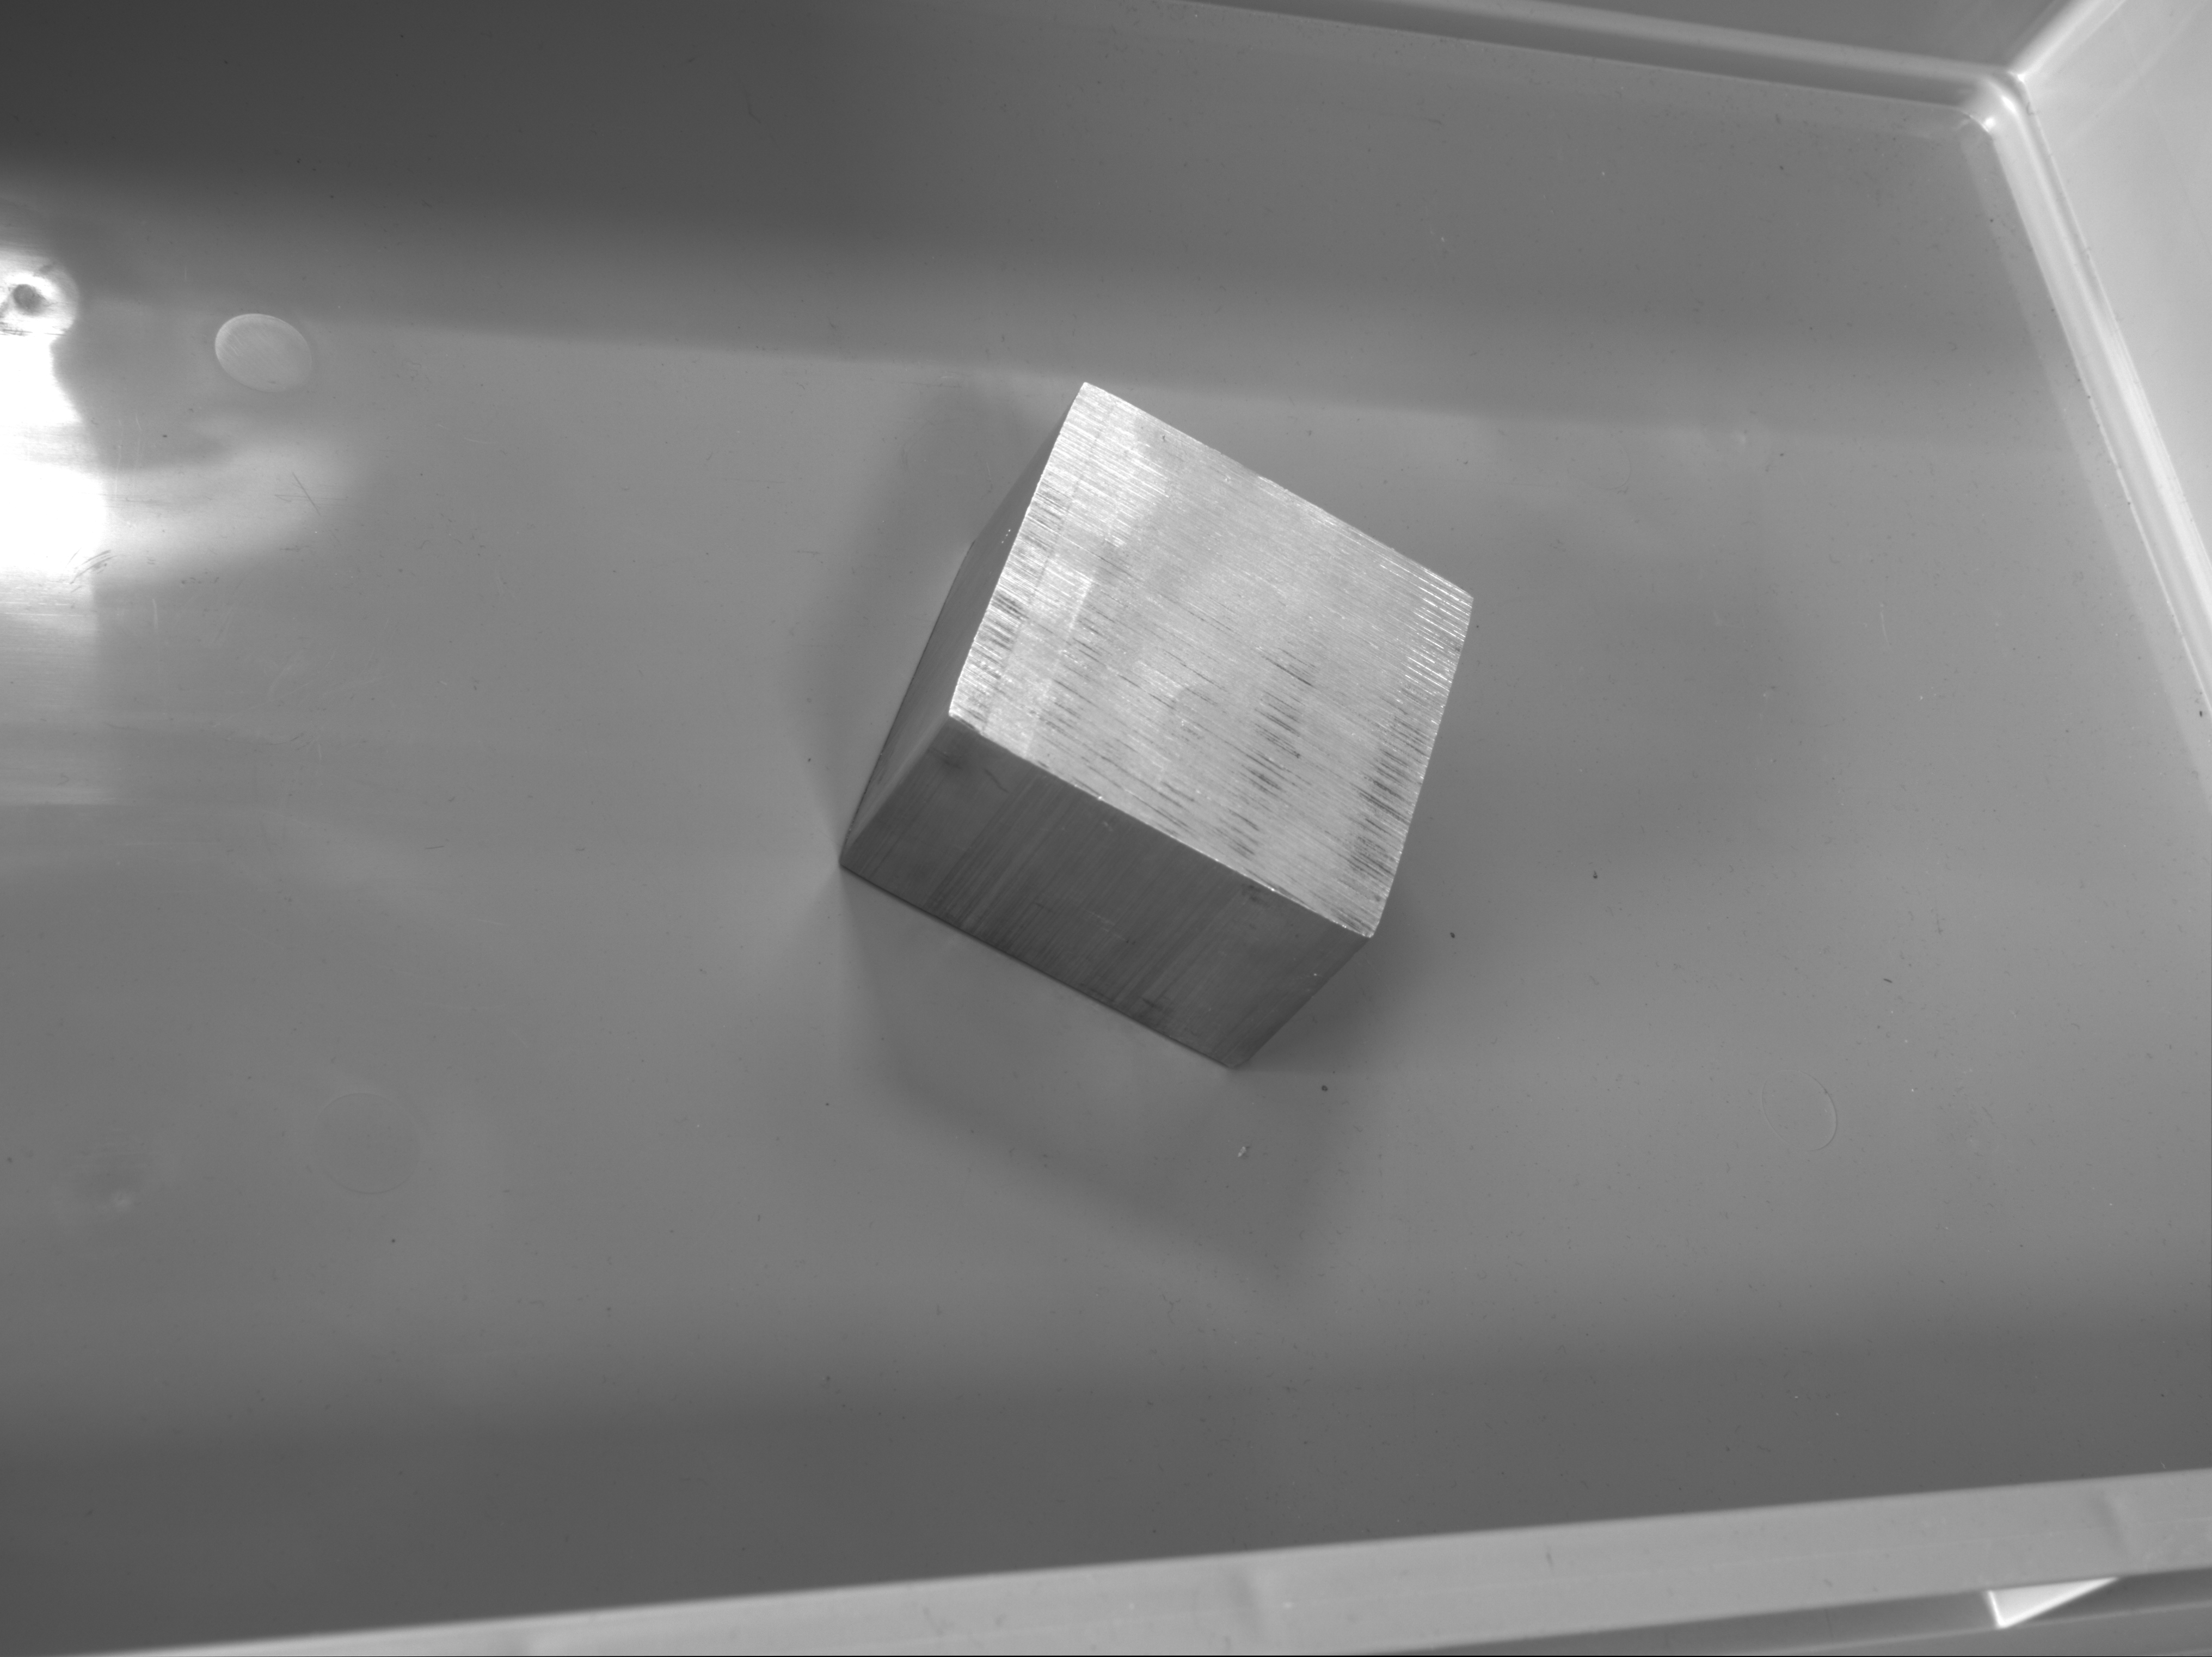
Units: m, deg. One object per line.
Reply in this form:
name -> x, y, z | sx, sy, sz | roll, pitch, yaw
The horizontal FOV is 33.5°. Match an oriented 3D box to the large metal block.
large metal block -> 0.010, -0.018, 0.635 | 0.080, 0.050, 0.080 | 28, 51, -11
